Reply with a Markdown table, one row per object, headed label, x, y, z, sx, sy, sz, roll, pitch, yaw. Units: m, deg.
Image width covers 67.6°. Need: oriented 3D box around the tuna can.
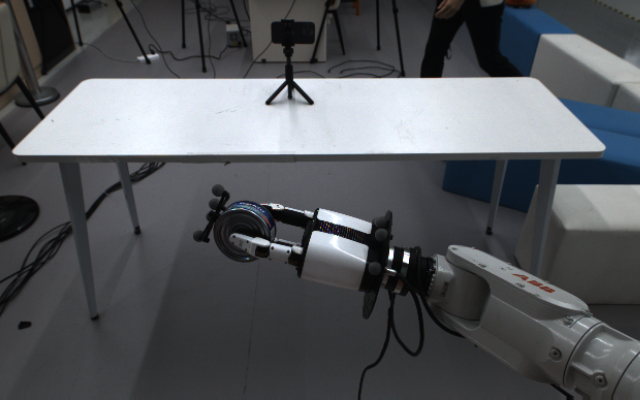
| label | x | y | z | sx | sy | sz | roll | pitch | yaw |
| --- | --- | --- | --- | --- | --- | --- | --- | --- | --- |
| tuna can | -0.106 | 0.044 | 0.696 | 0.085 | 0.085 | 0.034 | 6 | 20 | 5 |
